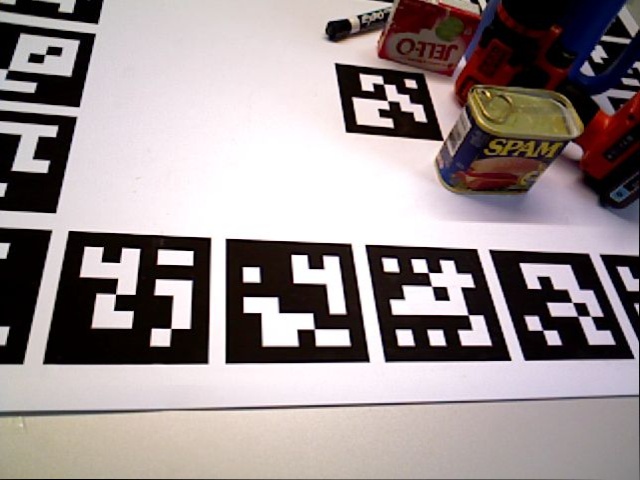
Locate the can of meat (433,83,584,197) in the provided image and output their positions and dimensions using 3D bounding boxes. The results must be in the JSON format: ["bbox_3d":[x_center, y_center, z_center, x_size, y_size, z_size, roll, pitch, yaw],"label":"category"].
[{"bbox_3d":[0.162,-0.085,0.486,0.101,0.086,0.057,2,55,-15],"label":"can of meat"}]

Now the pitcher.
[{"bbox_3d":[0.274,-0.258,0.541,0.188,0.248,0.130,26,58,10],"label":"pitcher"}]

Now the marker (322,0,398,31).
[{"bbox_3d":[0.054,-0.254,0.606,0.119,0.020,0.019,-23,67,-25],"label":"marker"}]

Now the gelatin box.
[{"bbox_3d":[0.117,-0.219,0.570,0.089,0.075,0.030,13,59,-9],"label":"gelatin box"}]

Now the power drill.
[{"bbox_3d":[0.232,-0.162,0.496,0.187,0.189,0.056,35,58,1],"label":"power drill"}]
